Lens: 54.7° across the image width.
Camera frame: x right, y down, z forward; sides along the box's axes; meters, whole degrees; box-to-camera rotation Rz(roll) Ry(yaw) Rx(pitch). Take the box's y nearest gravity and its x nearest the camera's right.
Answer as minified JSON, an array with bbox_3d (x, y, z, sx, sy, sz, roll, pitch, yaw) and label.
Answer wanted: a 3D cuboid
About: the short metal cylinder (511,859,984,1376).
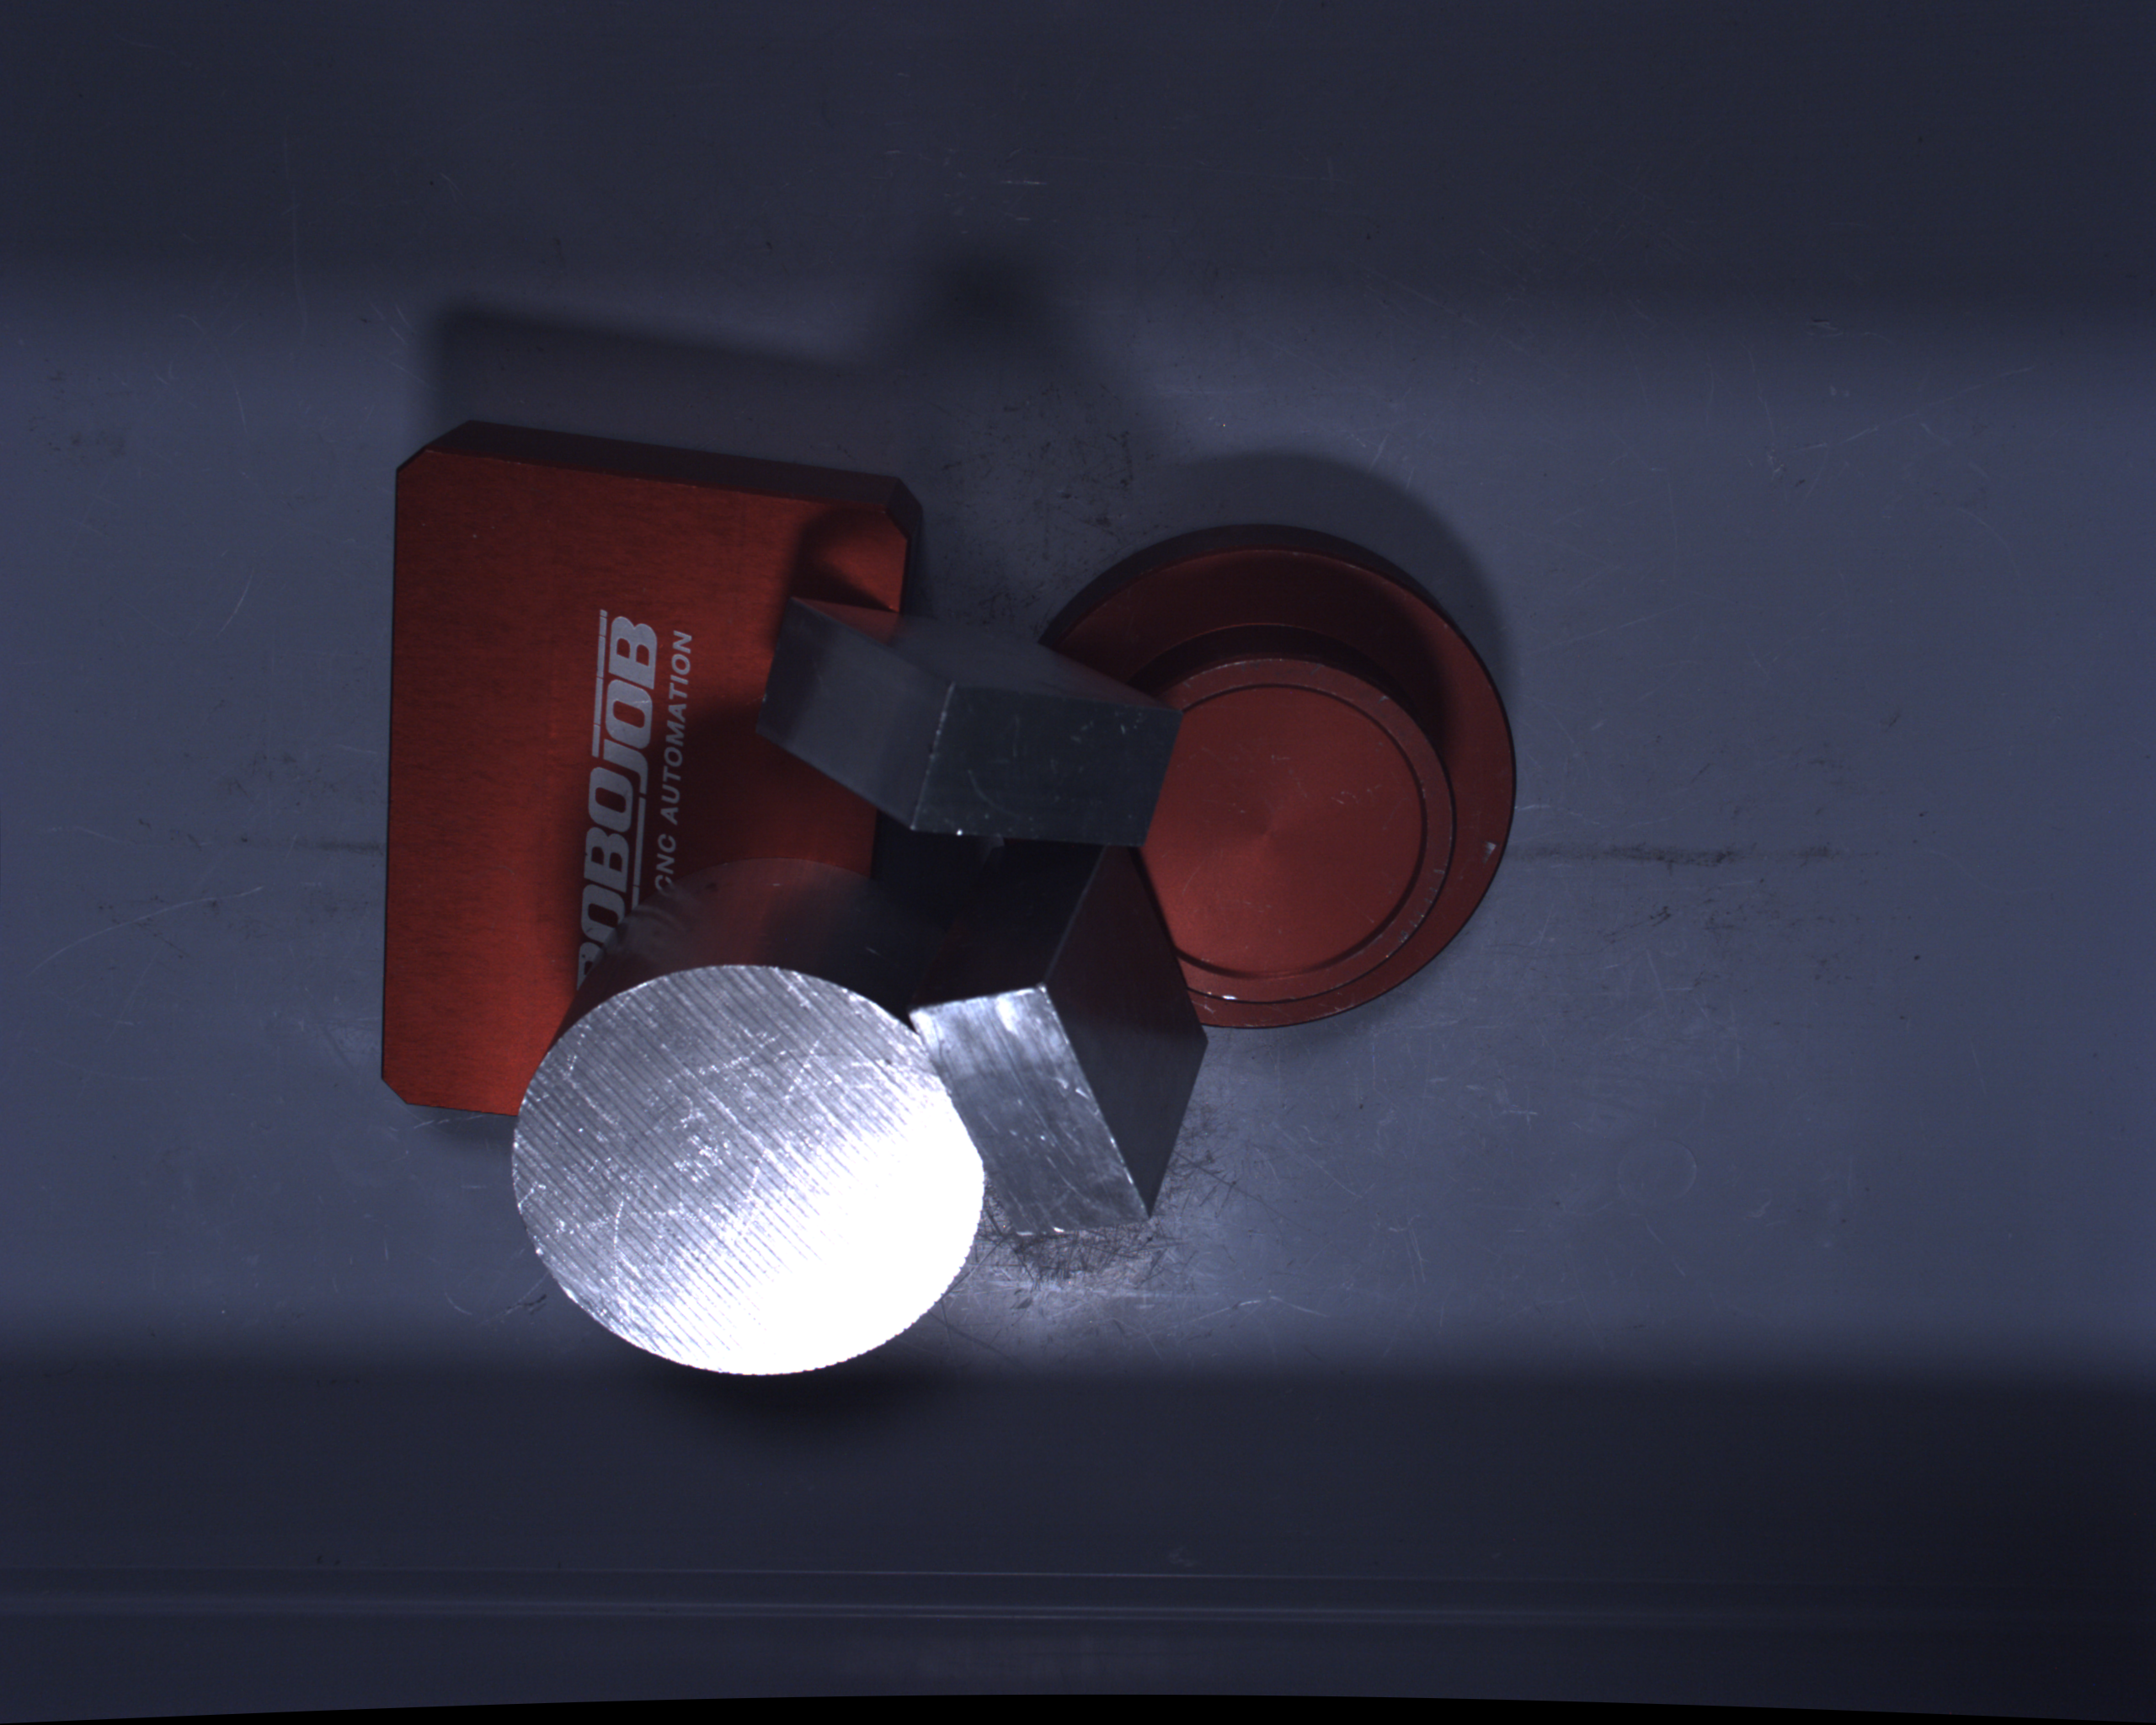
[{"bbox_3d":[-0.057,0.045,0.380,0.081,0.050,0.079,0,110,-1],"label":"short metal cylinder"}]

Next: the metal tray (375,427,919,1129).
[{"bbox_3d":[-0.083,-0.012,0.399,0.091,0.030,0.129,7,110,-3],"label":"metal tray"}]

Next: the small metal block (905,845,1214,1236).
[{"bbox_3d":[-0.001,0.029,0.365,0.025,0.050,0.050,-12,118,24],"label":"small metal block"}]

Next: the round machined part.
[{"bbox_3d":[0.034,-0.012,0.396,0.099,0.042,0.097,0,110,-1],"label":"round machined part"}]

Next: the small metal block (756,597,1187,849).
[{"bbox_3d":[-0.019,-0.024,0.360,0.050,0.050,0.025,3,109,-41],"label":"small metal block"}]
